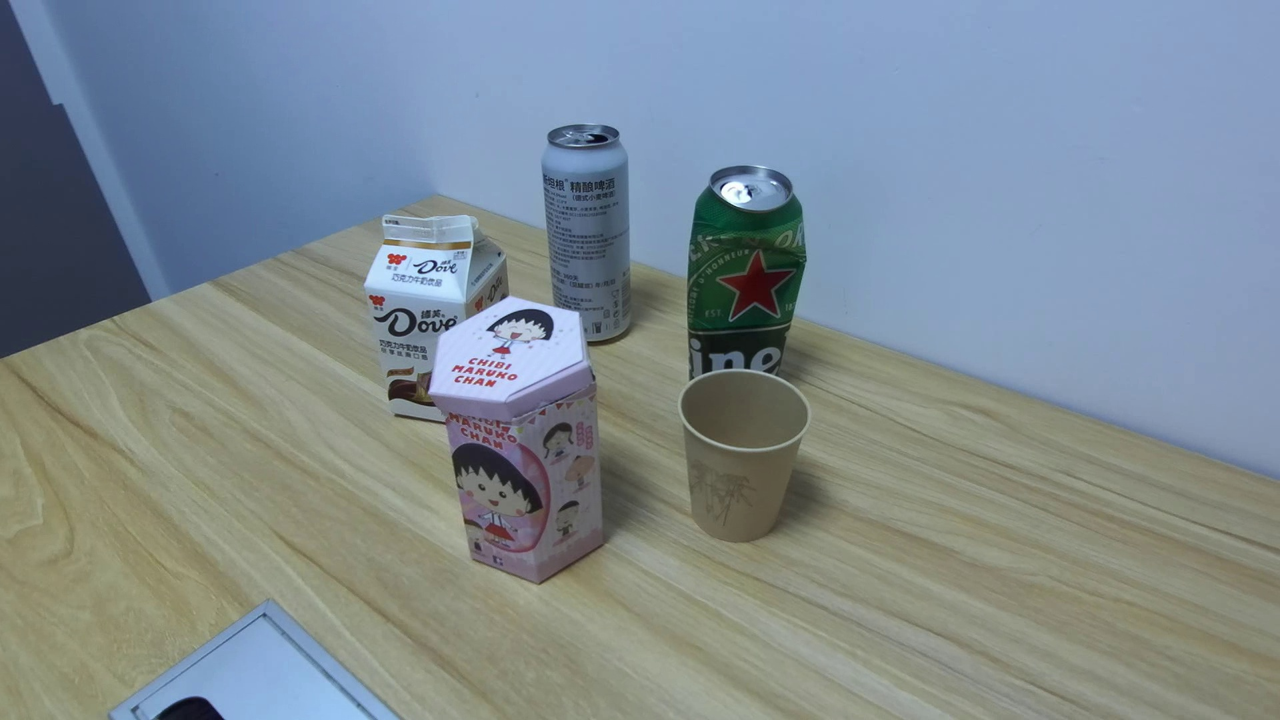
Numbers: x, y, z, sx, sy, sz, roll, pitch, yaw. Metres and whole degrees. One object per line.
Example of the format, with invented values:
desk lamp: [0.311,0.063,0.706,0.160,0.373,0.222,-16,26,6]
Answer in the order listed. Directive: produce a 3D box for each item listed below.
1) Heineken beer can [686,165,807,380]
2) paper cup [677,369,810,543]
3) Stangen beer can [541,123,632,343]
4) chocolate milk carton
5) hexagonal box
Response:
Heineken beer can: [0.071,-0.045,0.494,0.068,0.168,0.069,23,43,26]
paper cup: [0.058,0.060,0.417,0.075,0.082,0.075,0,36,0]
Stangen beer can: [-0.041,-0.098,0.572,0.067,0.171,0.067,0,34,1]
chocolate milk carton: [-0.138,-0.035,0.500,0.075,0.148,0.074,8,35,11]
hexagonal box: [-0.063,0.045,0.397,0.092,0.135,0.085,14,38,20]
